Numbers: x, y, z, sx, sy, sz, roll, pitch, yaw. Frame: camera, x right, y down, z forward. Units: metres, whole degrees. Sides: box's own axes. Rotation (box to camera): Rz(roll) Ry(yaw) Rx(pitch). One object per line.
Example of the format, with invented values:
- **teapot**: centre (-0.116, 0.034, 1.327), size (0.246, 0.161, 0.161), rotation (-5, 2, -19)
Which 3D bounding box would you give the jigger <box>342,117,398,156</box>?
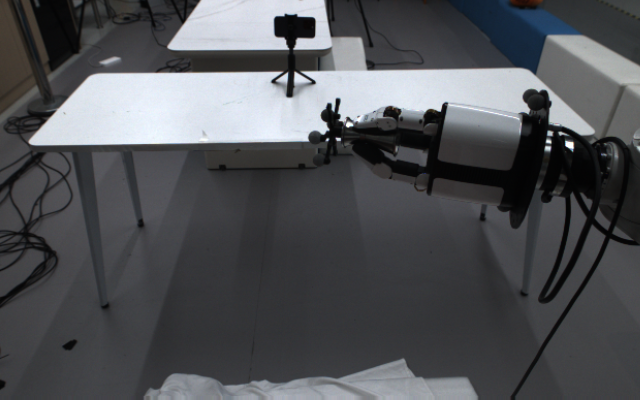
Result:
- **jigger**: centre (0.070, -0.085, 0.604), size (0.071, 0.043, 0.043), rotation (9, 35, 16)
